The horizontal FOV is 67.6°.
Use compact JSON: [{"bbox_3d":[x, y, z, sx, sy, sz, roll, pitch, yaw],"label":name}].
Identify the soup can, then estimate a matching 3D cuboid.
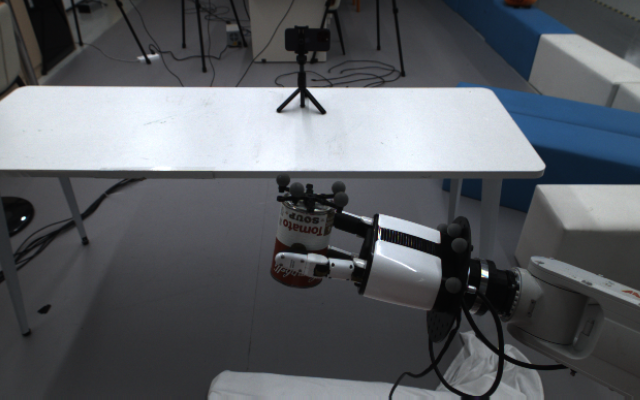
[{"bbox_3d":[-0.020,0.047,0.599,0.067,0.101,0.067,9,20,-3],"label":"soup can"}]
